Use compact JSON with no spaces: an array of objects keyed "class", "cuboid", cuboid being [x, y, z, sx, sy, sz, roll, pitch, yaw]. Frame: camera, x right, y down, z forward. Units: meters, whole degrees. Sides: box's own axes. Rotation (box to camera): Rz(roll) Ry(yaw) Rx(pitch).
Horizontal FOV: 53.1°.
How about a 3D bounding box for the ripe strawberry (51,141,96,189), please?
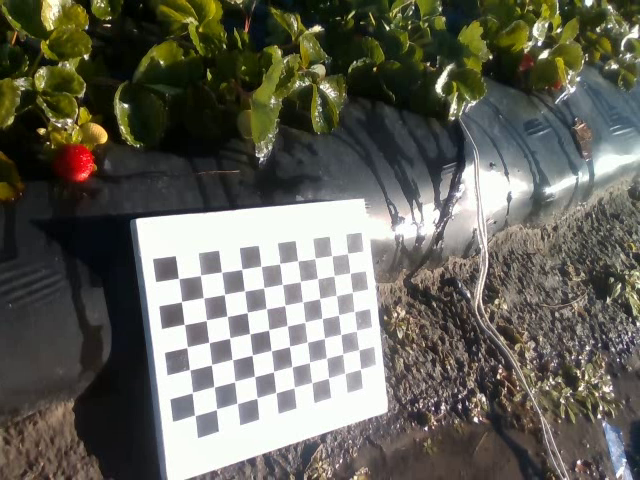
[{"class":"ripe strawberry","cuboid":[-0.180,-0.054,0.472,0.039,0.040,0.039,-18,32,-23]}]
